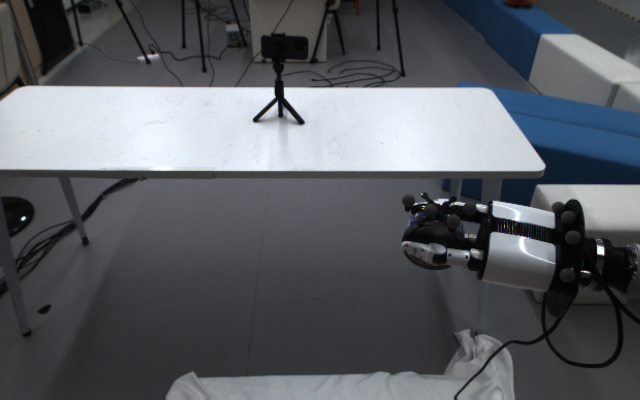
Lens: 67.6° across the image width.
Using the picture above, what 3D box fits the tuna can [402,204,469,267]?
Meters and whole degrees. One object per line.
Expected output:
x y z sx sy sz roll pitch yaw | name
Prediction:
0.161 0.051 0.678 0.085 0.085 0.034 10 34 11 | tuna can
